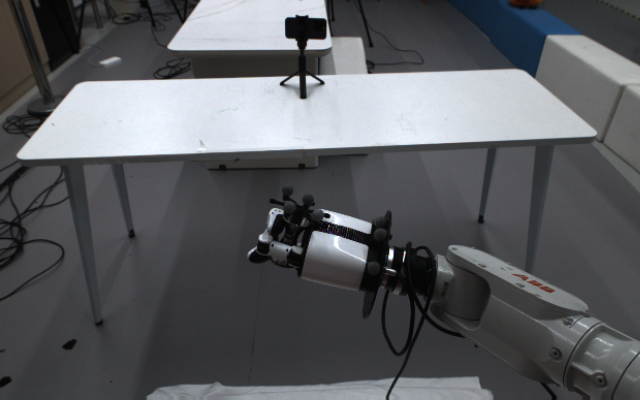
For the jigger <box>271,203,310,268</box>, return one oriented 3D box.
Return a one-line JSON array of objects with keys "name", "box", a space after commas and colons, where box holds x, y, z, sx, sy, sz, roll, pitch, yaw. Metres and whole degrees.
[{"name": "jigger", "box": [-0.043, 0.058, 0.696, 0.043, 0.071, 0.043, 18, 17, -6]}]
